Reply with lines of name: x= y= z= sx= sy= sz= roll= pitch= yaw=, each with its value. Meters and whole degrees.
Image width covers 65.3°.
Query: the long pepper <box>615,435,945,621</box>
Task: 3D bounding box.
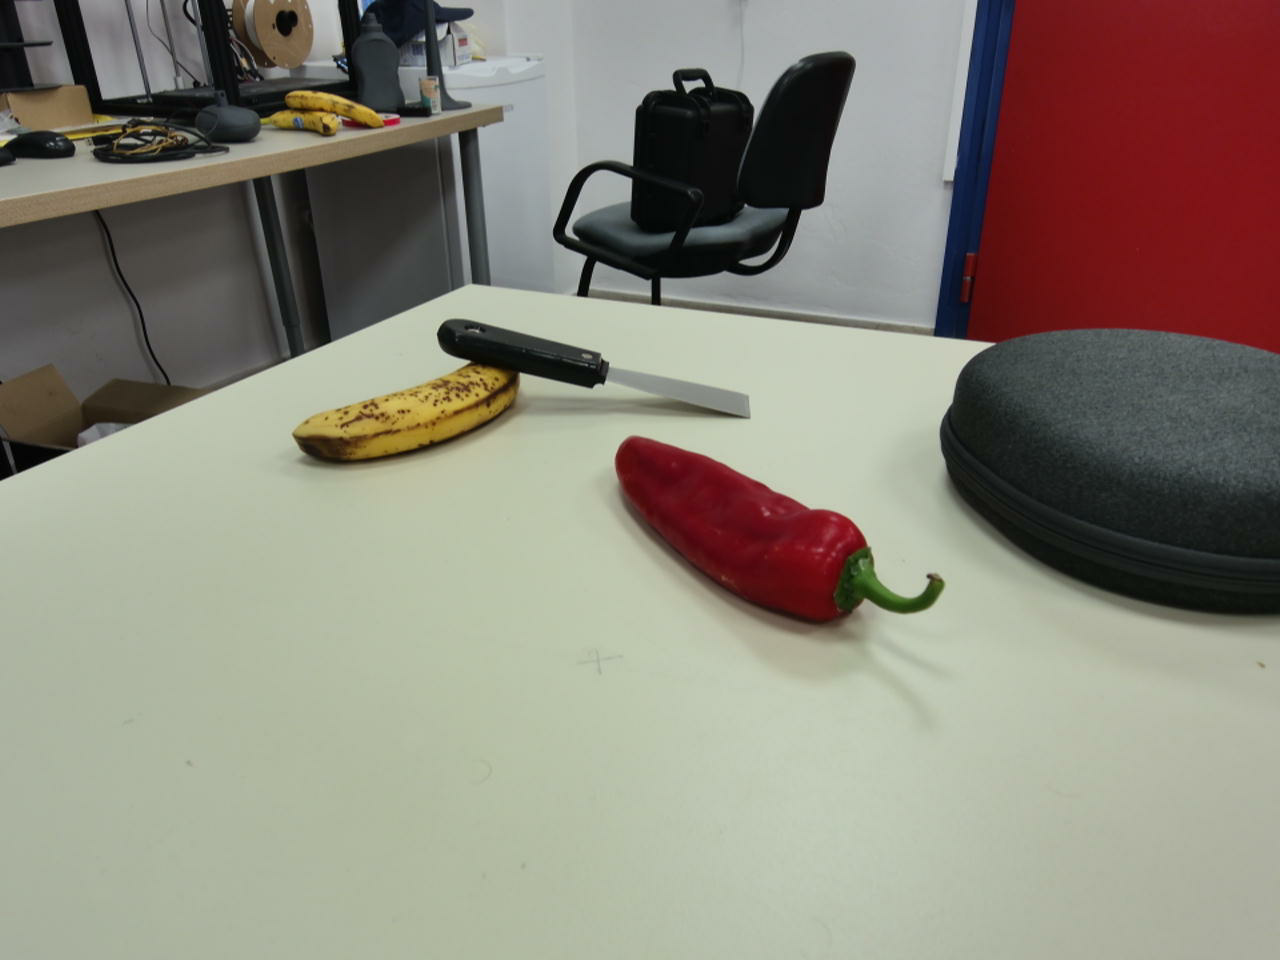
long pepper: x=0.042 y=0.017 z=0.438 sx=0.050 sy=0.043 sz=0.211 roll=-14 pitch=27 yaw=-29
